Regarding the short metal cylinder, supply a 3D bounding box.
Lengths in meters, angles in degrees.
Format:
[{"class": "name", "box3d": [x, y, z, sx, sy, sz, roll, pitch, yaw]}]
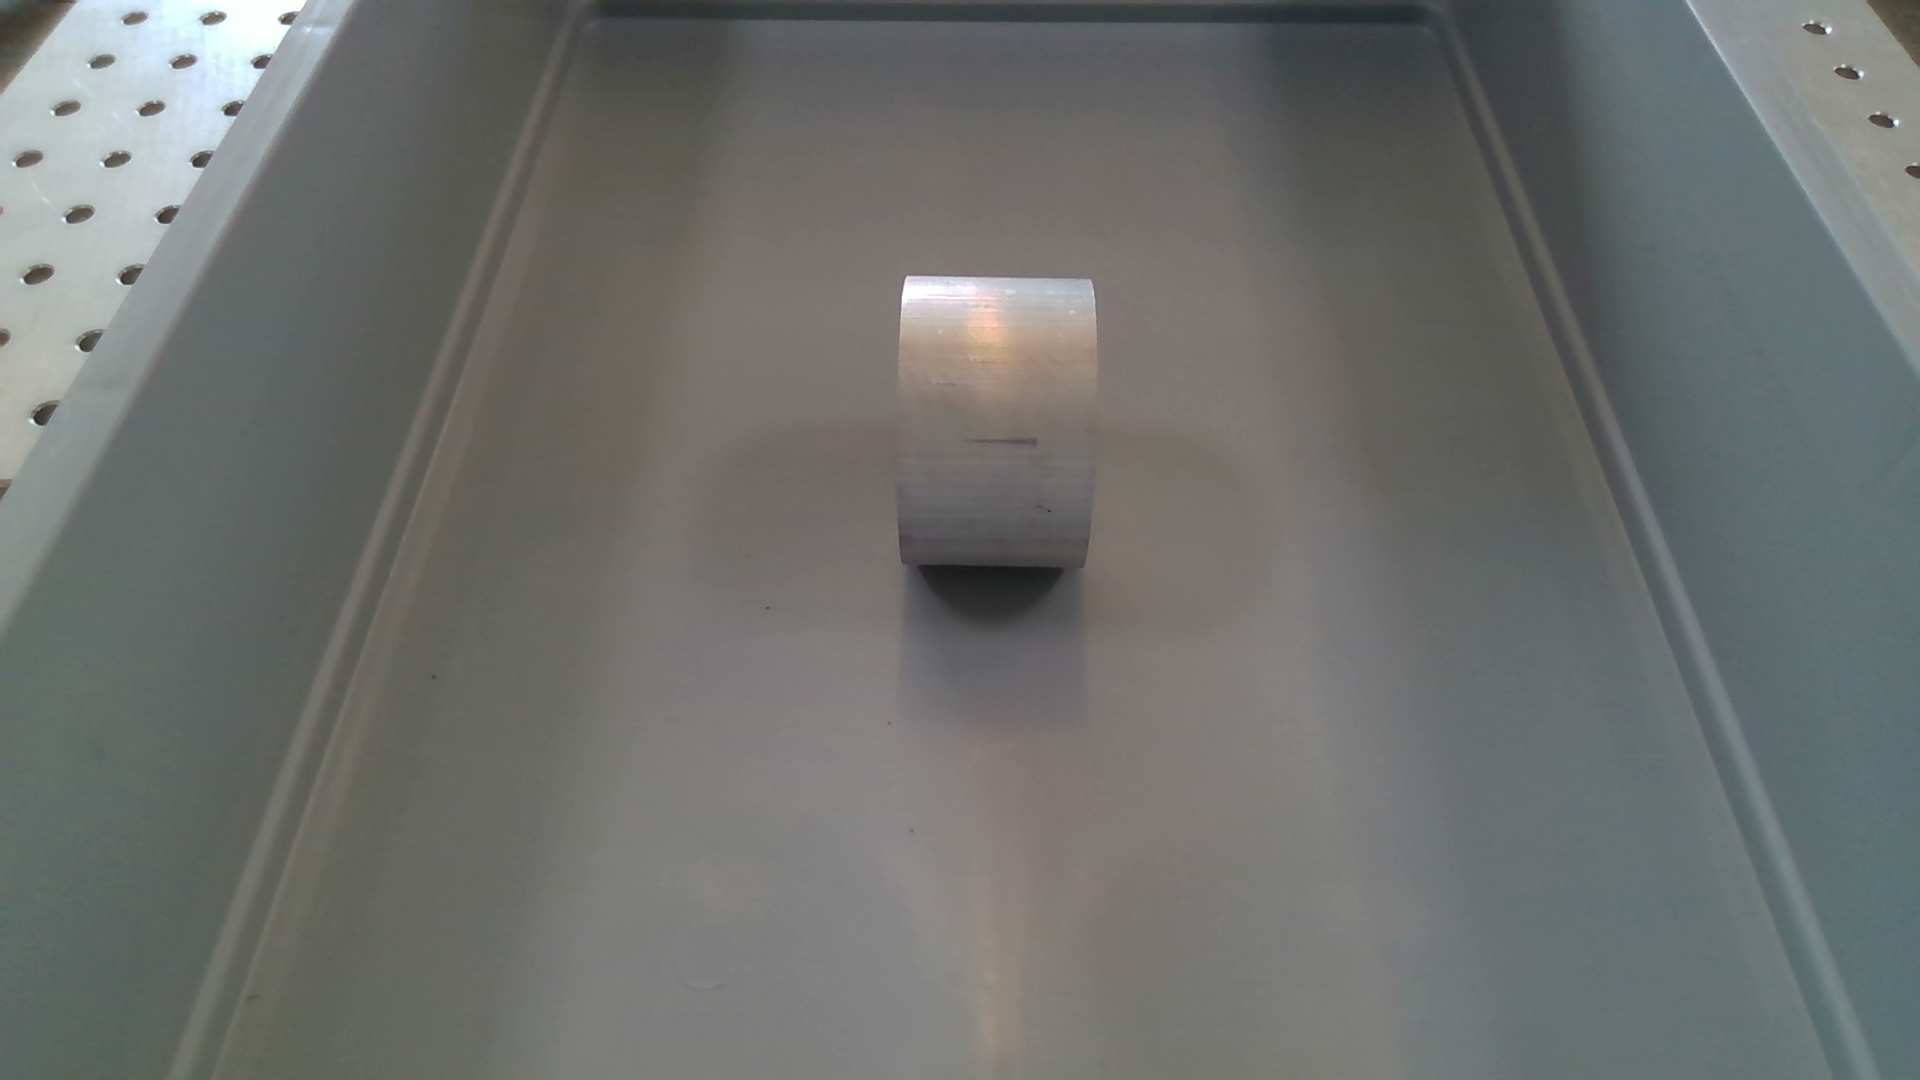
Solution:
[{"class": "short metal cylinder", "box3d": [0.009, -0.033, 0.382, 0.050, 0.080, 0.080, 1, 50, 1]}]
